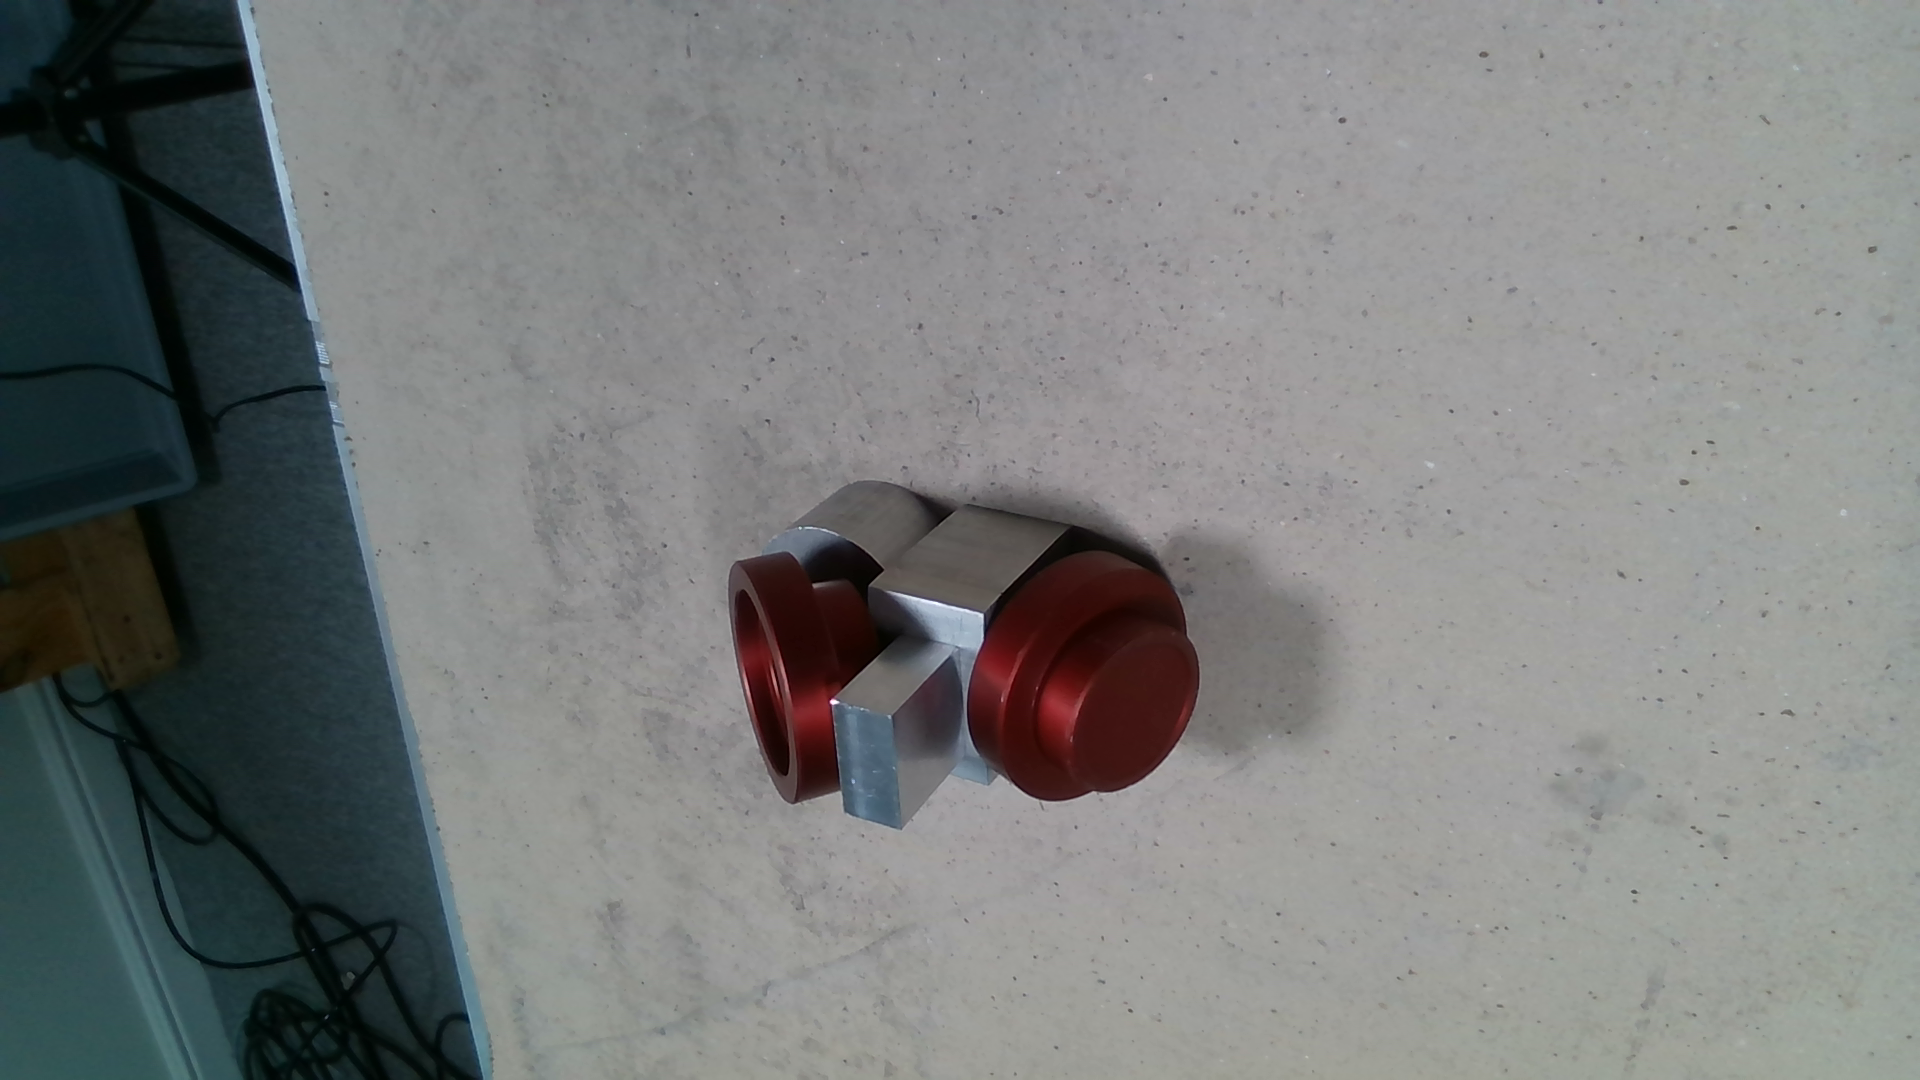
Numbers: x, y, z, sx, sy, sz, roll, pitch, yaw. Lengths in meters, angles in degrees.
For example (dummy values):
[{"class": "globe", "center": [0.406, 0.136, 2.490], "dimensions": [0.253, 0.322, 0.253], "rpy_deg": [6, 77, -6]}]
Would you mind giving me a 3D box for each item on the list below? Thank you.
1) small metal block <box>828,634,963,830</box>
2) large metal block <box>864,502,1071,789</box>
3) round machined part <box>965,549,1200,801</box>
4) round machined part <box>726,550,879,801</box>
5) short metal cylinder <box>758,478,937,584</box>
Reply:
[{"class": "small metal block", "center": [-0.023, 0.070, 0.512], "dimensions": [0.025, 0.050, 0.050], "rpy_deg": [11, 120, 26]}, {"class": "large metal block", "center": [0.006, 0.041, 0.562], "dimensions": [0.050, 0.080, 0.080], "rpy_deg": [12, 121, 26]}, {"class": "round machined part", "center": [0.053, 0.056, 0.526], "dimensions": [0.042, 0.098, 0.098], "rpy_deg": [30, 132, 46]}, {"class": "round machined part", "center": [-0.060, 0.051, 0.548], "dimensions": [0.098, 0.042, 0.098], "rpy_deg": [167, 91, -70]}, {"class": "short metal cylinder", "center": [-0.044, 0.020, 0.603], "dimensions": [0.080, 0.050, 0.080], "rpy_deg": [14, 122, 25]}]
